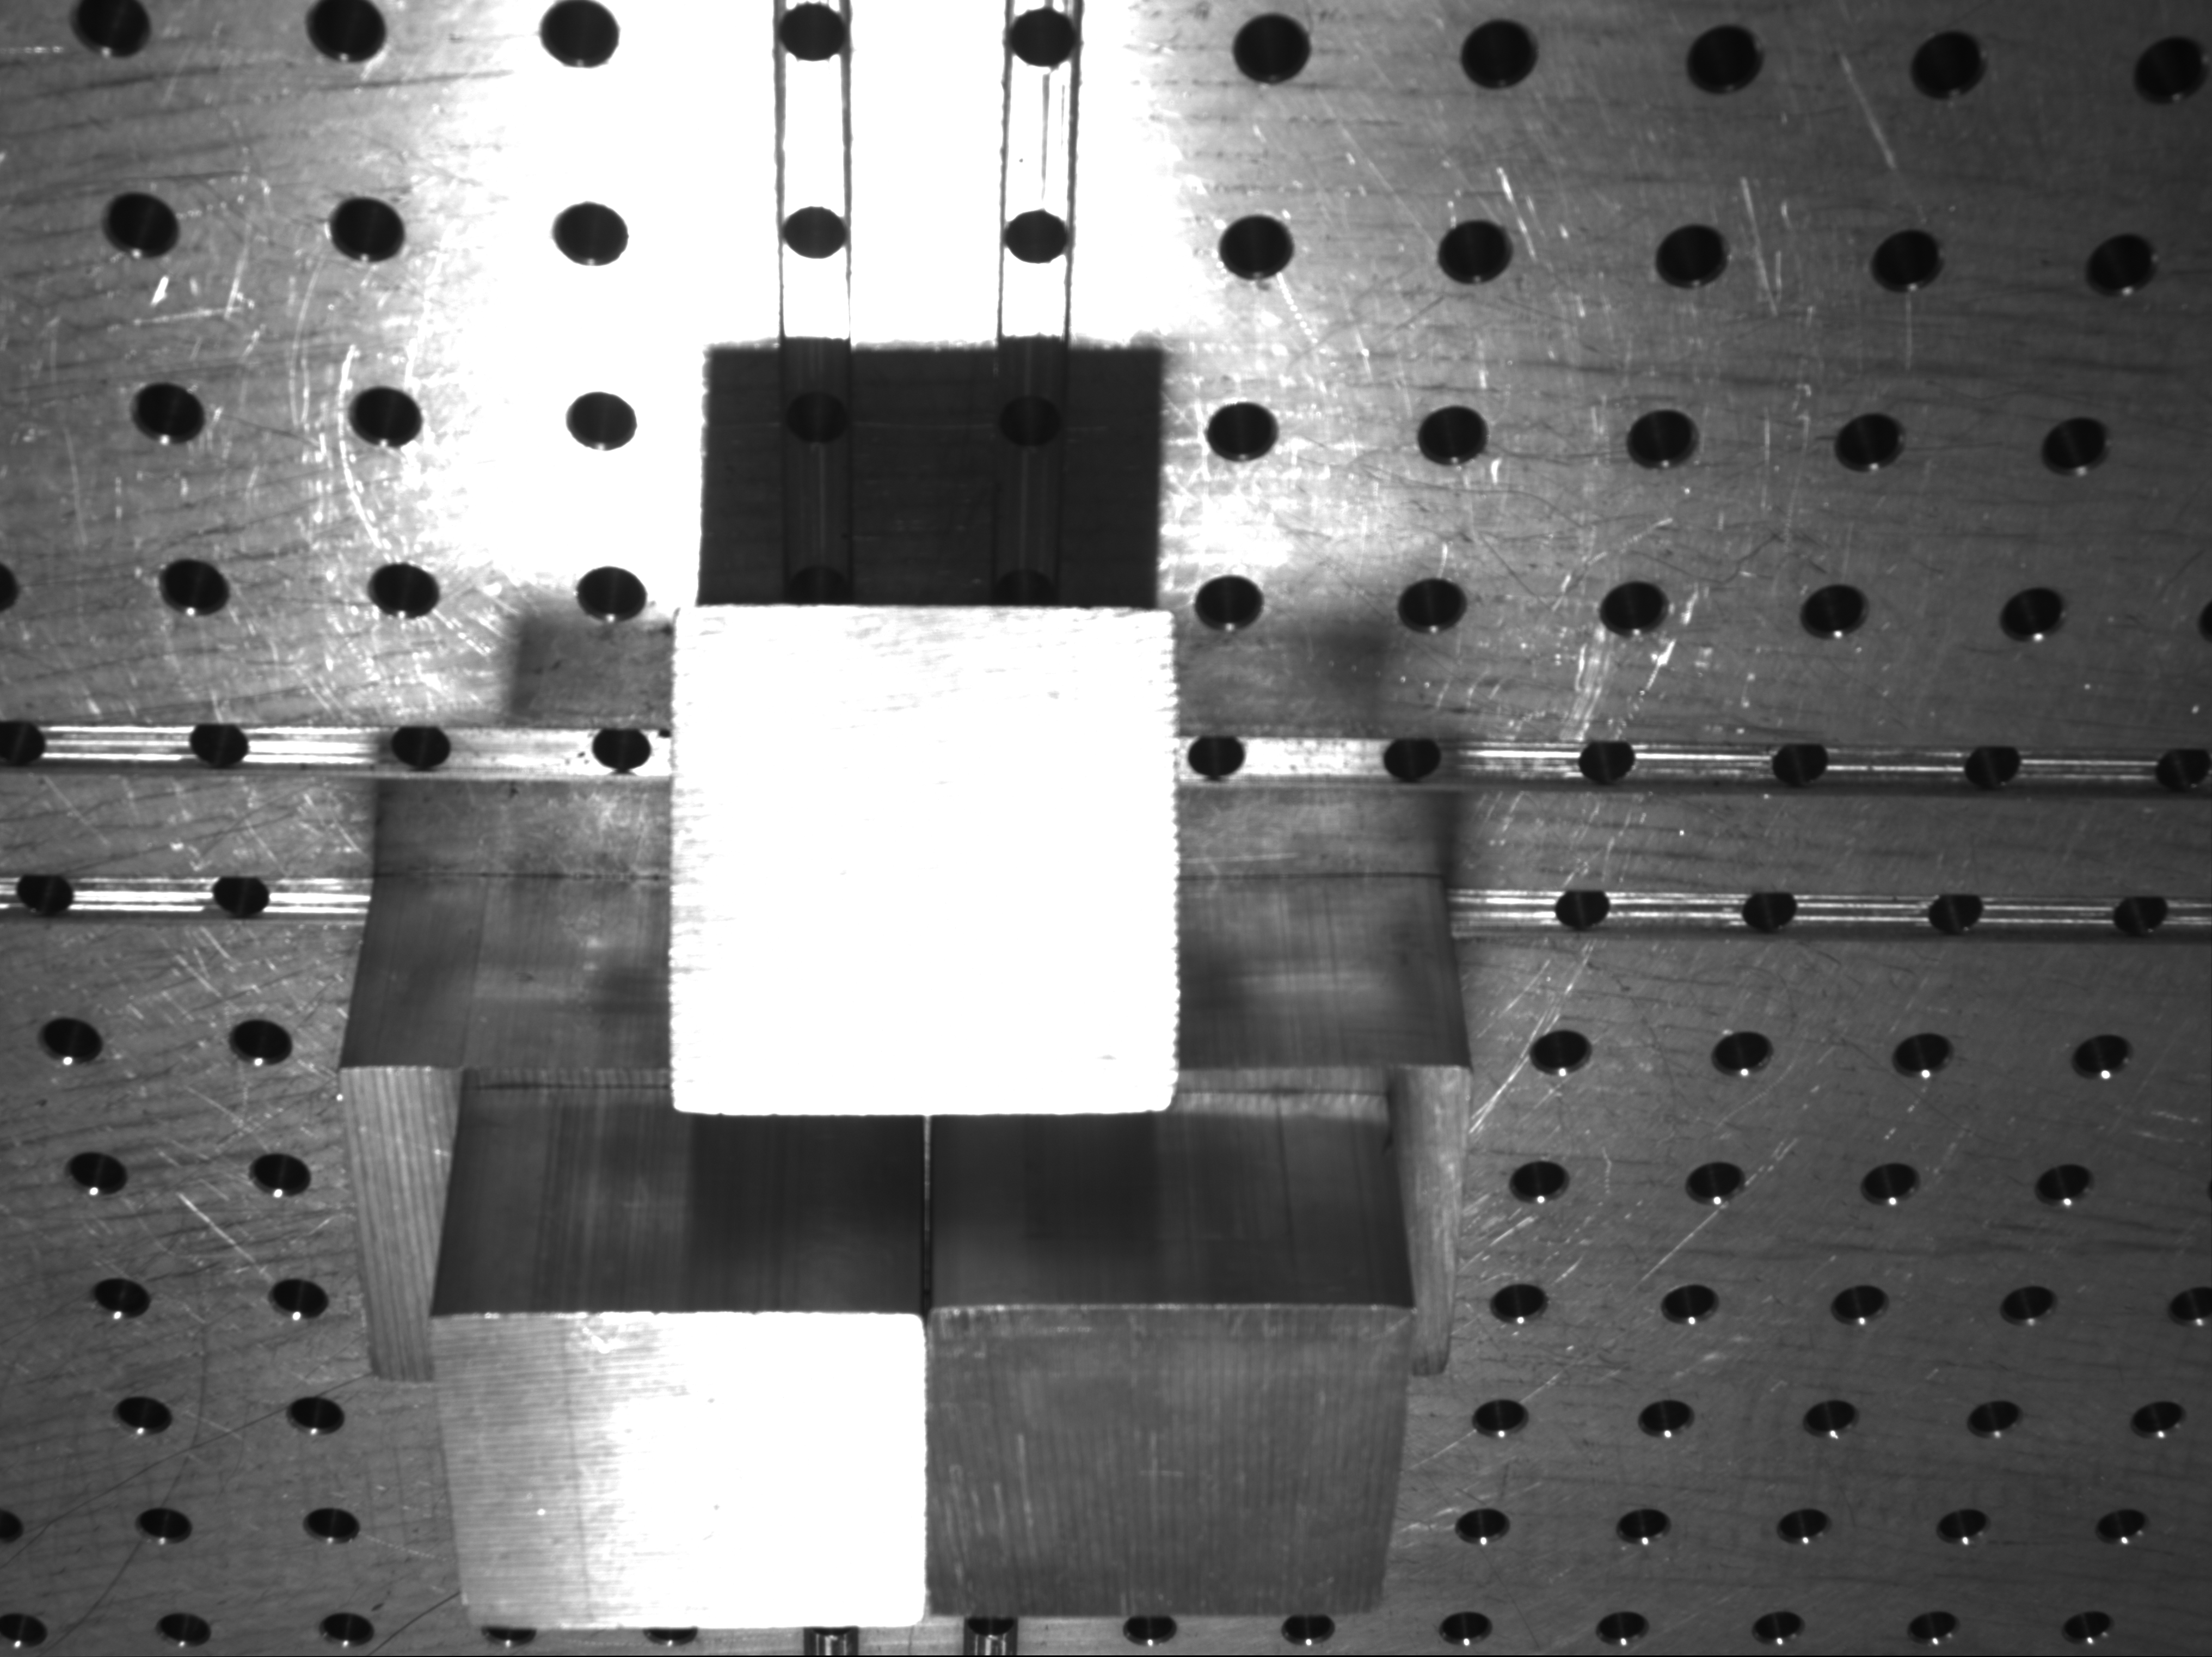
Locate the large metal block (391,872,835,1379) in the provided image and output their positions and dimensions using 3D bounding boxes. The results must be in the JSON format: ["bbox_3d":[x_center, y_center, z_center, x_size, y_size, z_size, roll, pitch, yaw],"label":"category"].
[{"bbox_3d":[-0.084,0.055,0.669,0.080,0.050,0.080,1,130,-3],"label":"large metal block"}]

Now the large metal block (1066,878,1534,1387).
[{"bbox_3d":[0.033,0.056,0.673,0.080,0.050,0.080,-1,130,-1],"label":"large metal block"}]

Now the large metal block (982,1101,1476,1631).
[{"bbox_3d":[0.019,0.094,0.637,0.080,0.050,0.080,0,130,-2],"label":"large metal block"}]

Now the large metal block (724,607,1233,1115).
[{"bbox_3d":[-0.021,0.006,0.603,0.080,0.050,0.080,0,88,-2],"label":"large metal block"}]

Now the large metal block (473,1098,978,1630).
[{"bbox_3d":[-0.062,0.093,0.632,0.080,0.050,0.080,0,130,-2],"label":"large metal block"}]
